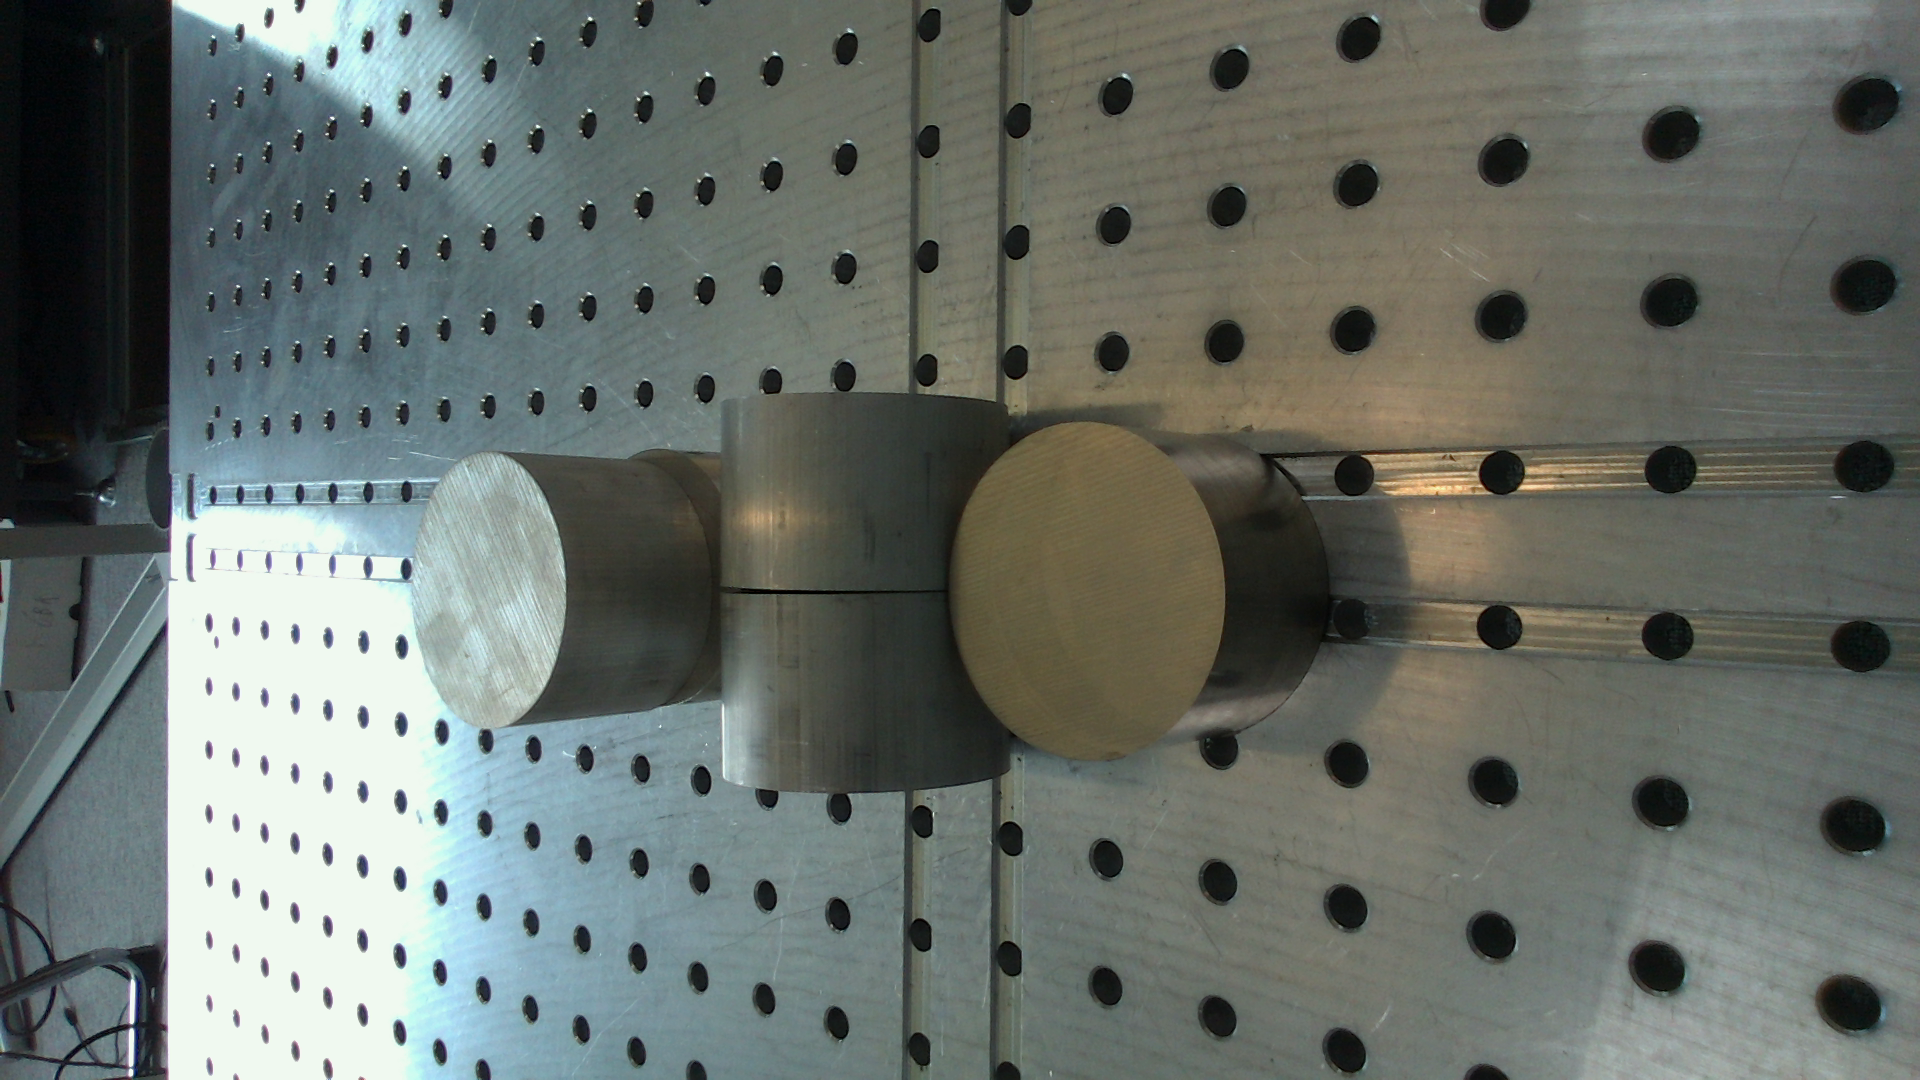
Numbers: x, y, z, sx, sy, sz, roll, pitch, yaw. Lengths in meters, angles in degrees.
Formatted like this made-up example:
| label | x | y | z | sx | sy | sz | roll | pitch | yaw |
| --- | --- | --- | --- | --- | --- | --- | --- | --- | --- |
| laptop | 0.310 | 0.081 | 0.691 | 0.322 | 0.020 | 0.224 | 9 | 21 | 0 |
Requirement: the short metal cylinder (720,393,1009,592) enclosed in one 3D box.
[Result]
| label | x | y | z | sx | sy | sz | roll | pitch | yaw |
| --- | --- | --- | --- | --- | --- | --- | --- | --- | --- |
| short metal cylinder | -0.026 | -0.013 | 0.385 | 0.080 | 0.080 | 0.050 | 1 | 92 | 40 |

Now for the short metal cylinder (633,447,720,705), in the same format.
| label | x | y | z | sx | sy | sz | roll | pitch | yaw |
| --- | --- | --- | --- | --- | --- | --- | --- | --- | --- |
| short metal cylinder | -0.078 | 0.011 | 0.447 | 0.080 | 0.050 | 0.080 | 0 | 90 | 40 |

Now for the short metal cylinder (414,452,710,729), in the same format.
| label | x | y | z | sx | sy | sz | roll | pitch | yaw |
| --- | --- | --- | --- | --- | --- | --- | --- | --- | --- |
| short metal cylinder | -0.121 | 0.014 | 0.416 | 0.080 | 0.050 | 0.080 | 0 | 90 | 40 |

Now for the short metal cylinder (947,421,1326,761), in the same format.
| label | x | y | z | sx | sy | sz | roll | pitch | yaw |
| --- | --- | --- | --- | --- | --- | --- | --- | --- | --- |
| short metal cylinder | 0.043 | 0.012 | 0.344 | 0.080 | 0.050 | 0.080 | 0 | 90 | 40 |

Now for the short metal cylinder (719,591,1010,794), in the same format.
| label | x | y | z | sx | sy | sz | roll | pitch | yaw |
| --- | --- | --- | --- | --- | --- | --- | --- | --- | --- |
| short metal cylinder | -0.026 | 0.039 | 0.384 | 0.080 | 0.080 | 0.050 | -2 | 89 | 40 |
